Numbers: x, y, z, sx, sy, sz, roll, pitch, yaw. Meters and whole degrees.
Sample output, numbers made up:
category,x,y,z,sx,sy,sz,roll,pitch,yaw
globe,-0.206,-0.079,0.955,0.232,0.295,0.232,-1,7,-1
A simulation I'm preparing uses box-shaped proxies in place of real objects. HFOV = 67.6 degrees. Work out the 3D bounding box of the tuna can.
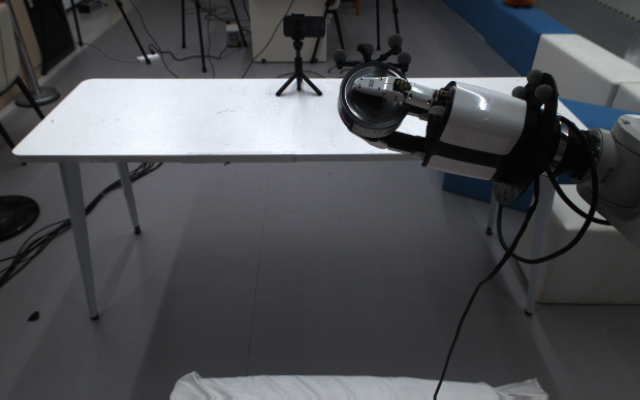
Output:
category,x,y,z,sx,sy,sz,roll,pitch,yaw
tuna can,0.065,-0.120,0.578,0.085,0.034,0.085,1,72,-4
